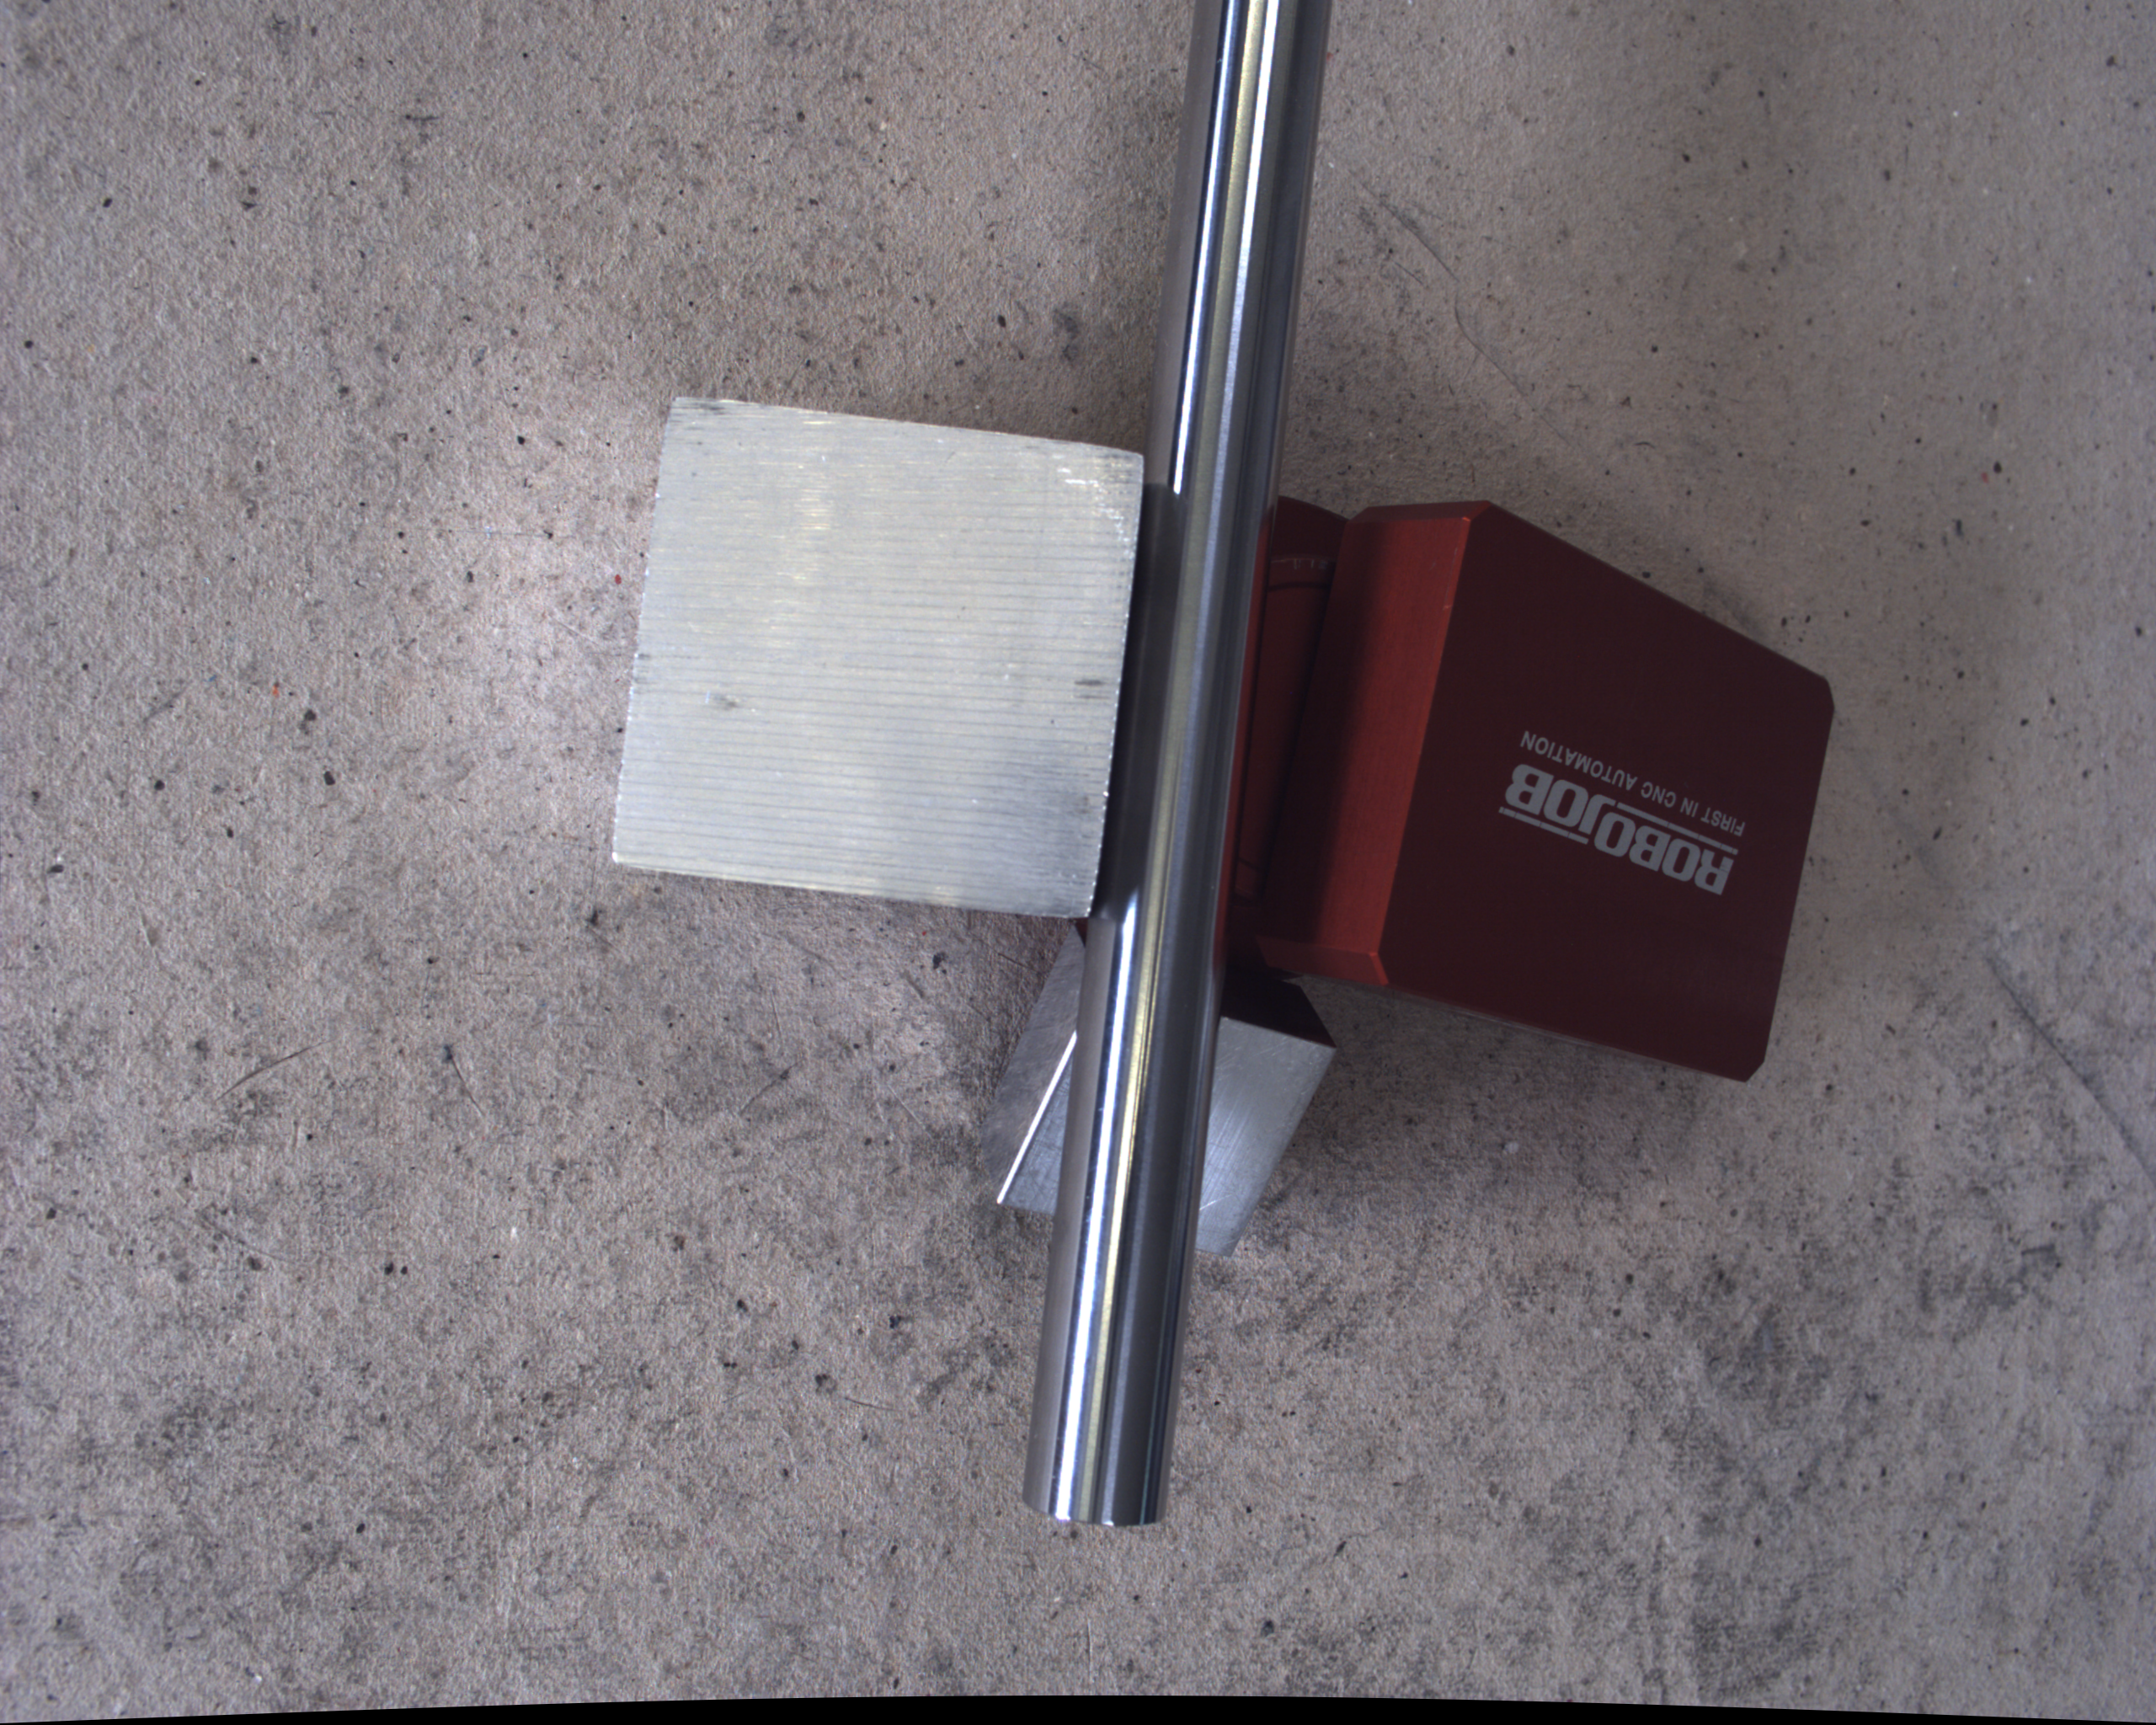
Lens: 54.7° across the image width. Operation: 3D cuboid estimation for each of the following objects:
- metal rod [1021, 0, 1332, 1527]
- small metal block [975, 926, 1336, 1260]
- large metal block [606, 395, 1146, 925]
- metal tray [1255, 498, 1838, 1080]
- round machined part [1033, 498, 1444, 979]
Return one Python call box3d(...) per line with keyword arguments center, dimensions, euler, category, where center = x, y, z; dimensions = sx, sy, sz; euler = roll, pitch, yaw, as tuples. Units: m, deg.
box3d(center=(0.020, -0.036, 0.373), dimensions=(0.025, 0.025, 0.298), euler=(8, 85, -20), category="metal rod")
box3d(center=(0.014, 0.045, 0.405), dimensions=(0.050, 0.025, 0.050), euler=(17, 110, -19), category="small metal block")
box3d(center=(-0.034, -0.033, 0.373), dimensions=(0.081, 0.050, 0.080), euler=(7, 88, -2), category="large metal block")
box3d(center=(0.099, -0.011, 0.421), dimensions=(0.131, 0.030, 0.090), euler=(16, 85, -40), category="metal tray")
box3d(center=(0.037, -0.025, 0.415), dimensions=(0.099, 0.042, 0.097), euler=(0, 90, -20), category="round machined part")
